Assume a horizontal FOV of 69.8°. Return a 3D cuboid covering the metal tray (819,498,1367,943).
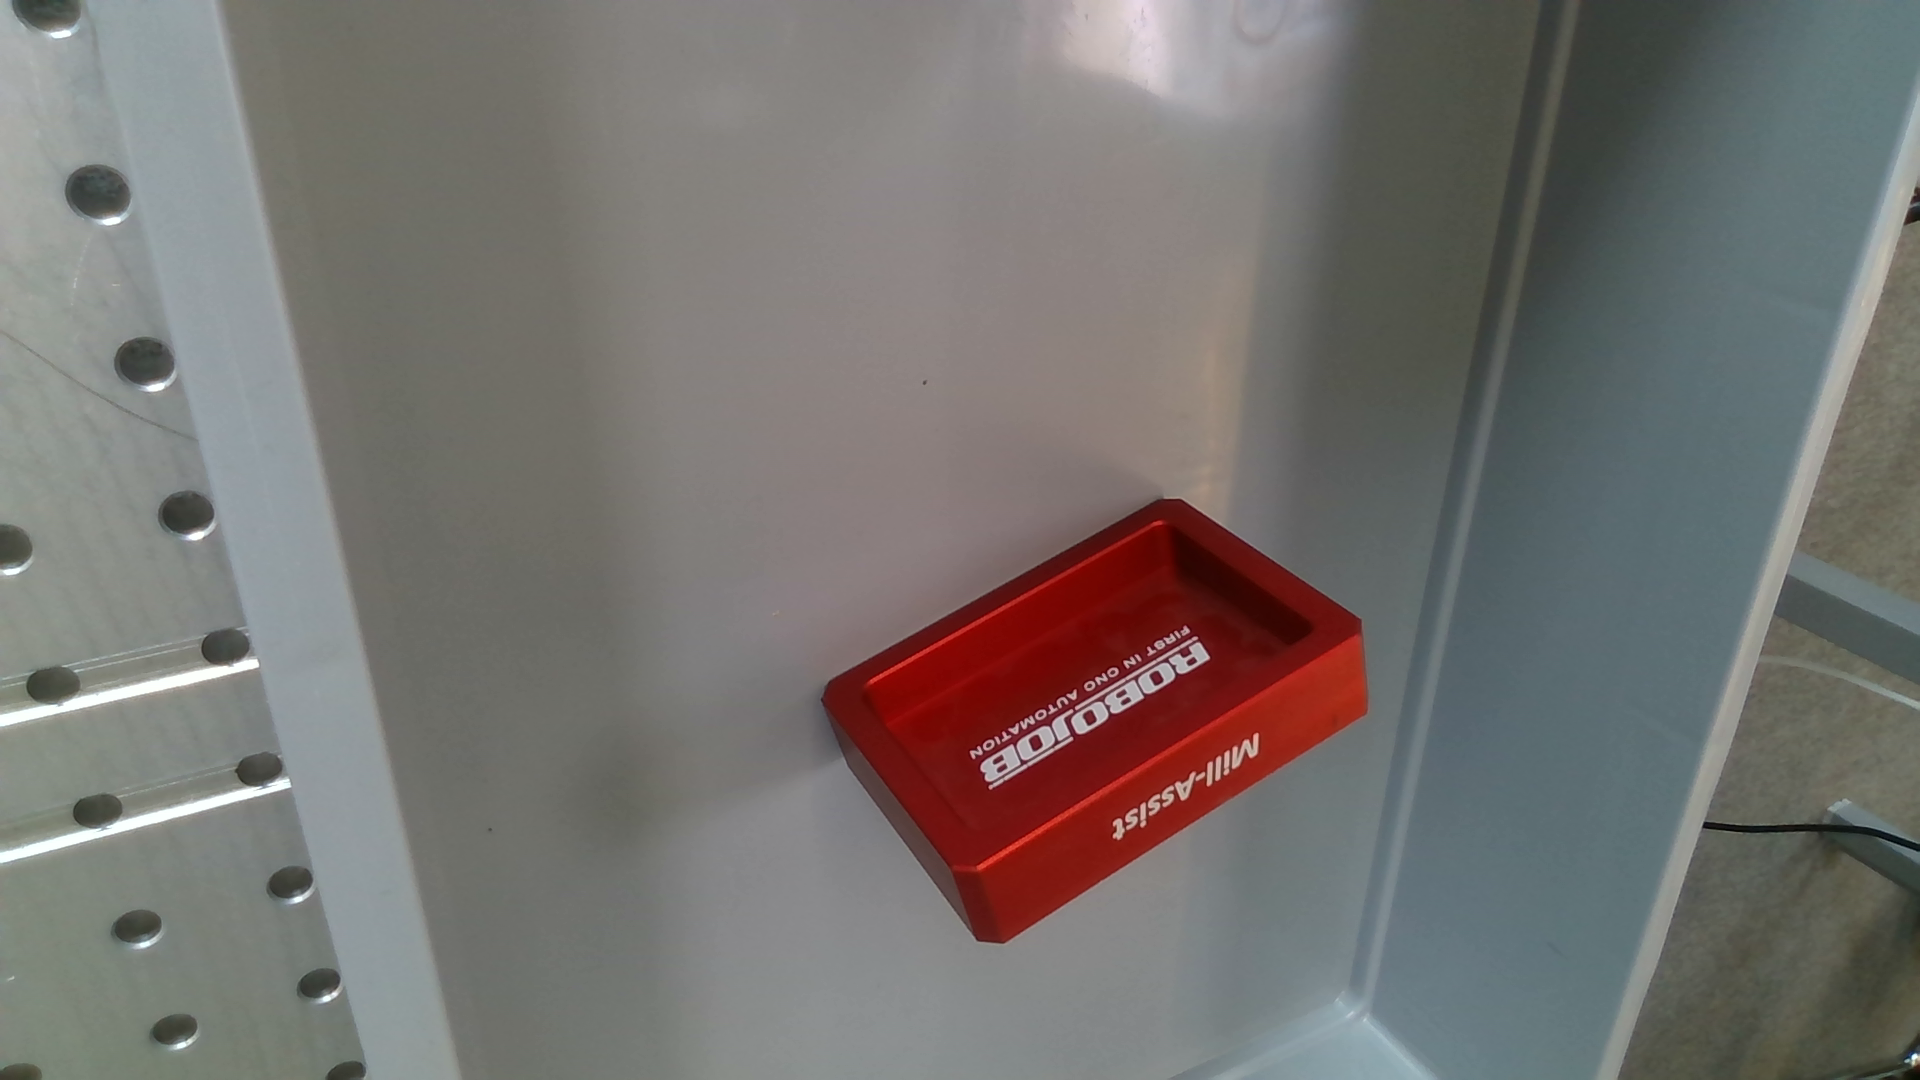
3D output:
[{"bbox_3d":[0.037,0.045,0.391,0.130,0.090,0.030,-28,127,-16],"label":"metal tray"}]
